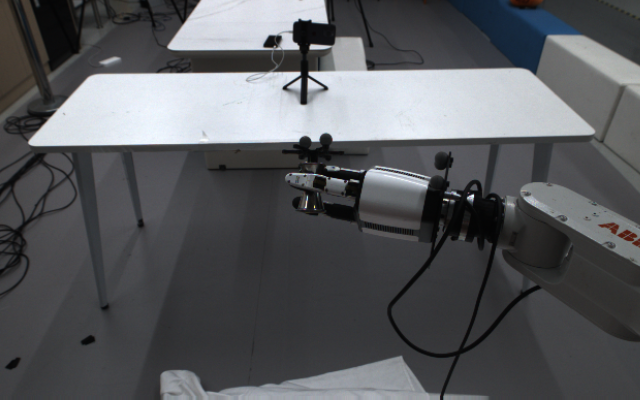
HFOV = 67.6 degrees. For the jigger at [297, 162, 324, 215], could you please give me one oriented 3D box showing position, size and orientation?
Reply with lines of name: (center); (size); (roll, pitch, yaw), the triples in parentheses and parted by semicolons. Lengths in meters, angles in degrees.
jigger: (-0.013, -0.018, 0.689); (0.043, 0.071, 0.043); (2, -6, 0)
